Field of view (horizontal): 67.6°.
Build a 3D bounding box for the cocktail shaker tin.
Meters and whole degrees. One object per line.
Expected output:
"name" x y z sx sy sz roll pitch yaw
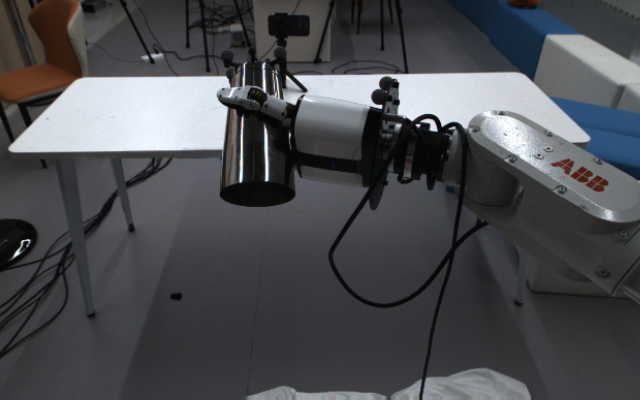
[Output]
"cocktail shaker tin" -0.081 -0.085 0.613 0.093 0.093 0.170 -2 70 -6
